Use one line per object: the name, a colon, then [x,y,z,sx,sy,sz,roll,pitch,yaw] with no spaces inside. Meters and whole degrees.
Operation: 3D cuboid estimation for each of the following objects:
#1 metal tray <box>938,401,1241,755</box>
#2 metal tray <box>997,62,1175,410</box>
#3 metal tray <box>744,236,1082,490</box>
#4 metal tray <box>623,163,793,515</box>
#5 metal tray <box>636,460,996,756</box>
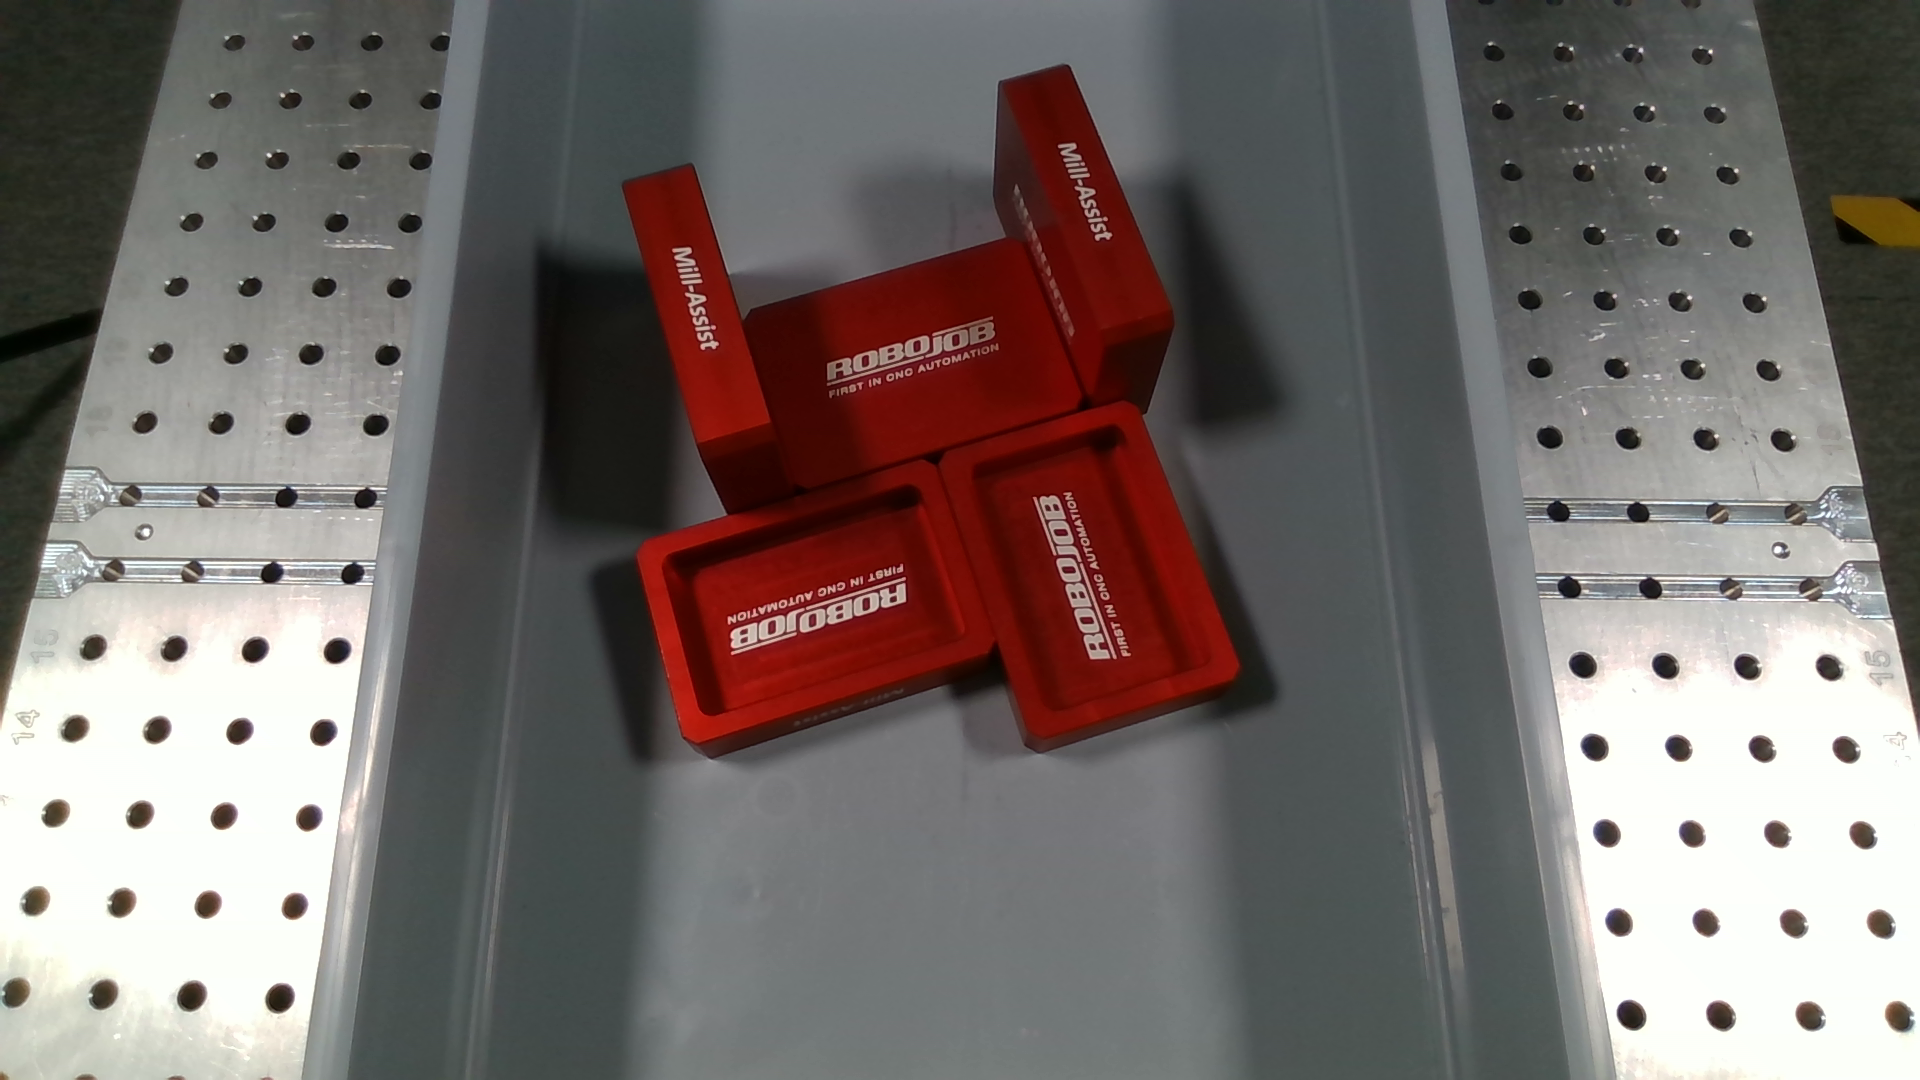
metal tray: [0.052,0.015,0.579,0.090,0.030,0.130,-16,71,-6]
metal tray: [0.050,-0.125,0.595,0.030,0.090,0.130,-17,71,-6]
metal tray: [-0.022,-0.074,0.609,0.130,0.030,0.090,-17,71,-6]
metal tray: [-0.104,-0.079,0.579,0.030,0.090,0.130,-16,71,-6]
metal tray: [-0.060,0.028,0.574,0.130,0.030,0.090,-17,71,-6]
